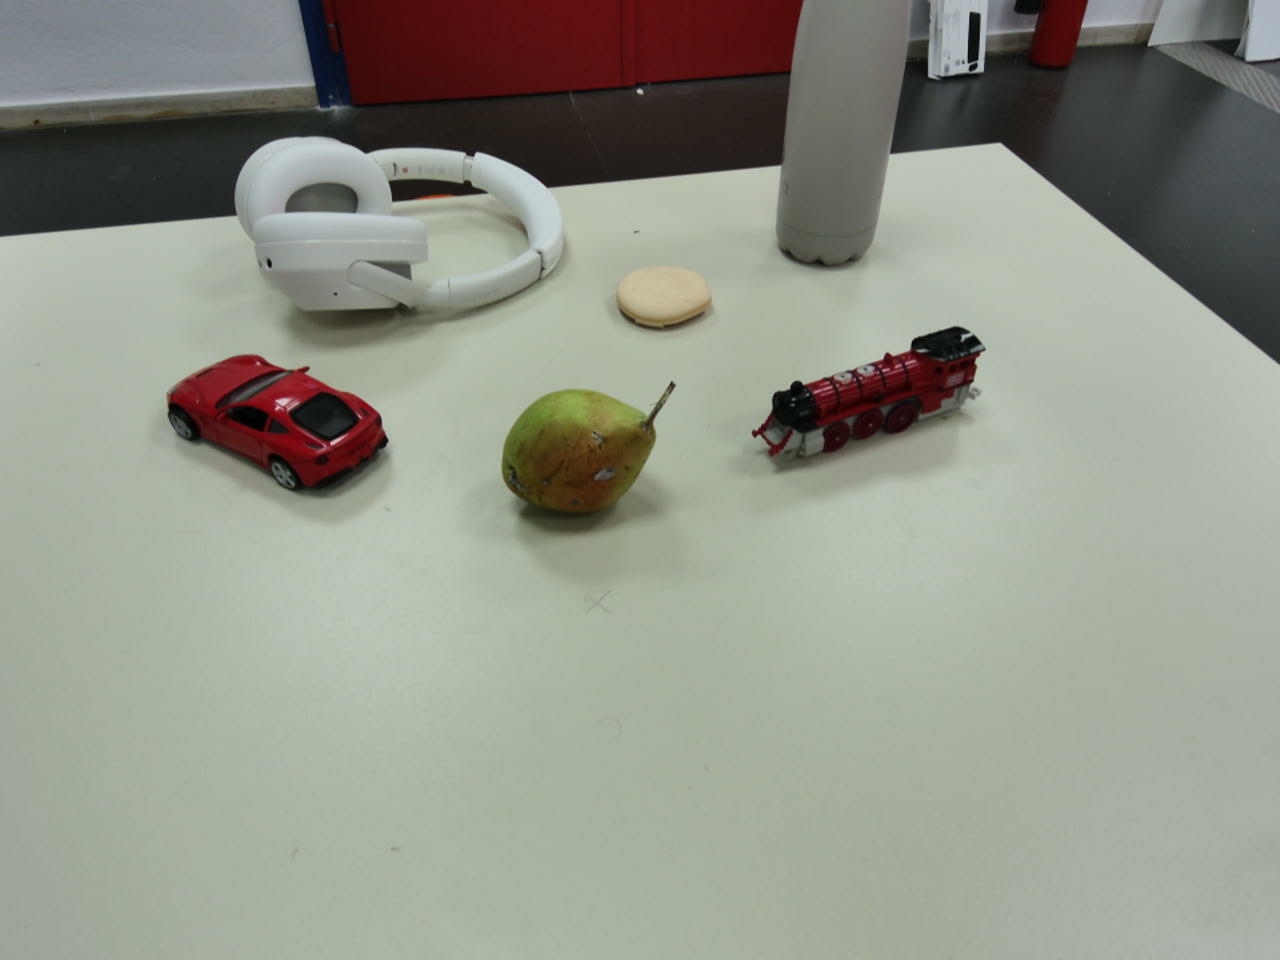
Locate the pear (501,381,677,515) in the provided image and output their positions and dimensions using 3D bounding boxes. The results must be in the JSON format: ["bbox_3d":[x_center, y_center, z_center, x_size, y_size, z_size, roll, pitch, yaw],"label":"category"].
[{"bbox_3d":[-0.030,-0.016,0.495,0.070,0.069,0.068,25,46,29],"label":"pear"}]
